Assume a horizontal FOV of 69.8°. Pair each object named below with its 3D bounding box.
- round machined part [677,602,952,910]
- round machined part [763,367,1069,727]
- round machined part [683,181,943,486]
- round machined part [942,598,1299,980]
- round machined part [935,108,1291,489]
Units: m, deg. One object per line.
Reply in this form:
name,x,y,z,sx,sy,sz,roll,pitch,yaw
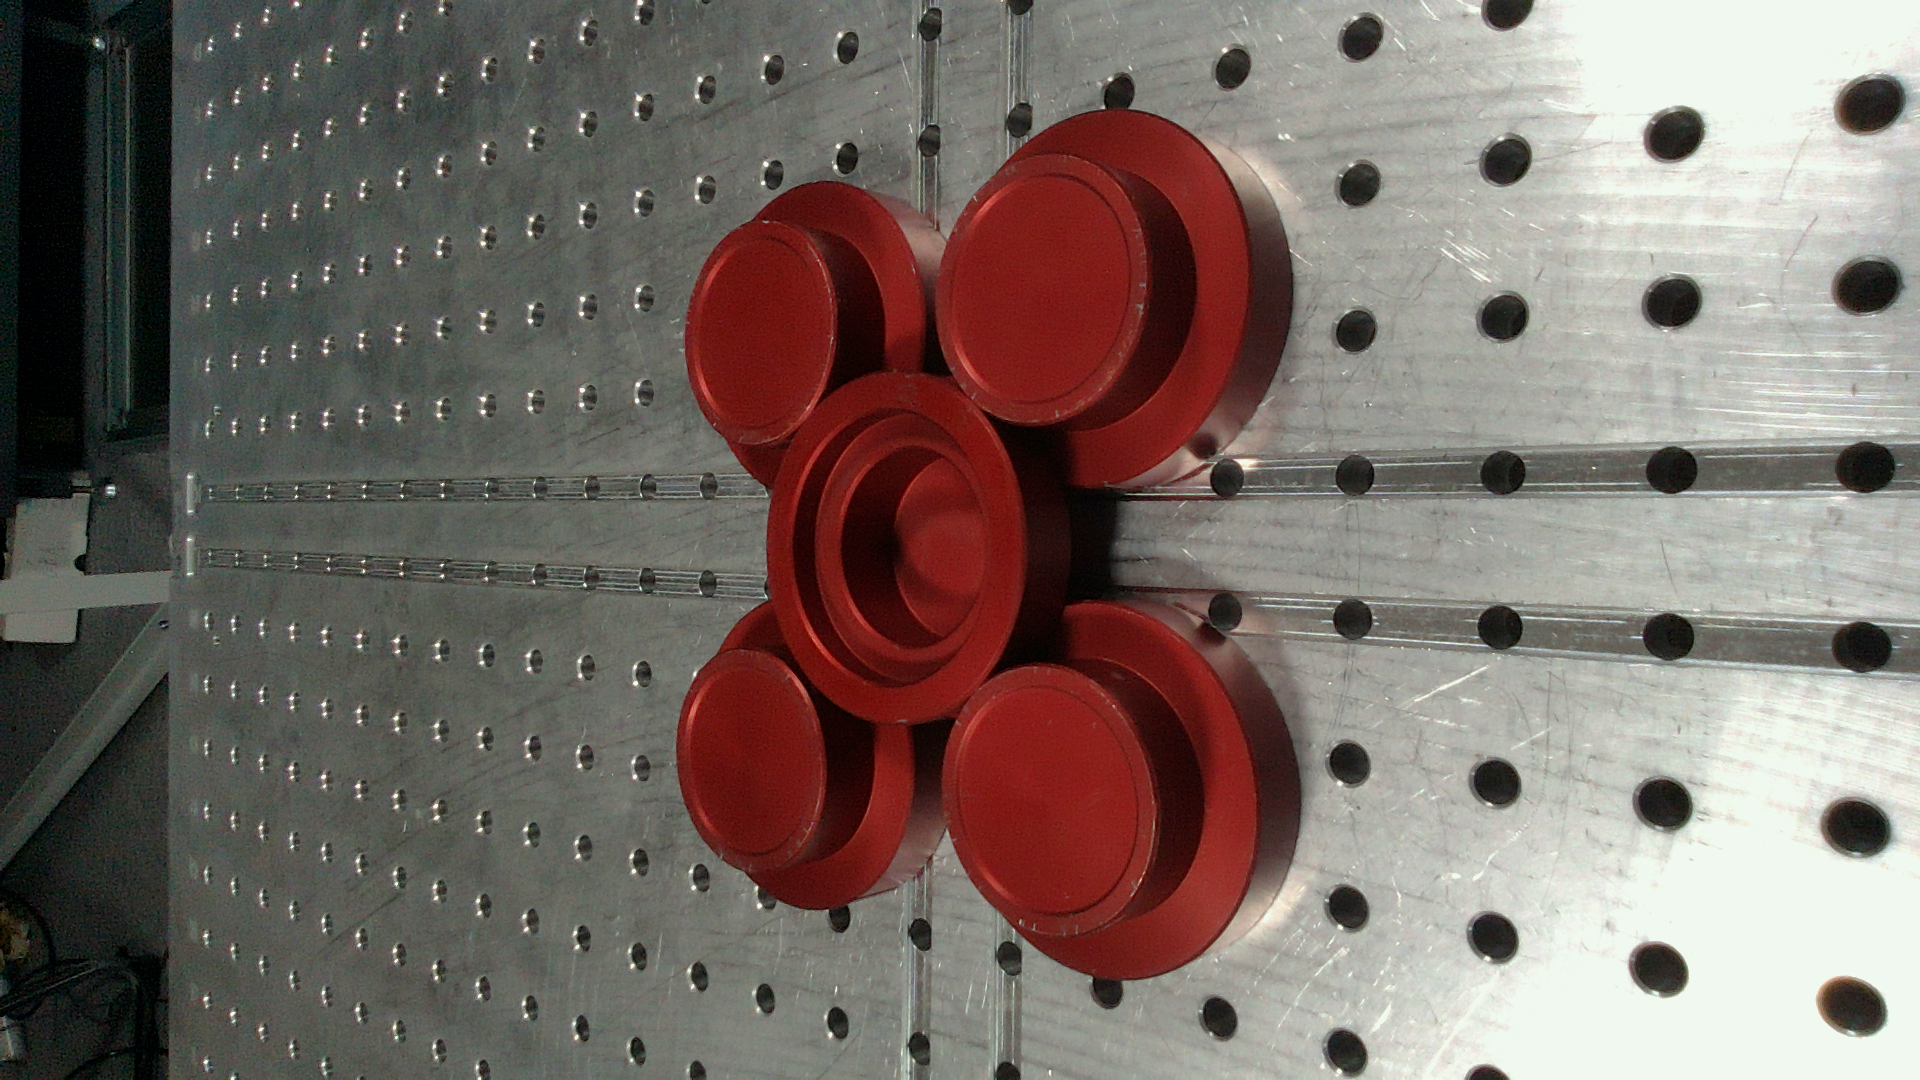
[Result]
round machined part,-0.051,0.066,0.430,0.098,0.042,0.098,0,90,40
round machined part,-0.008,0.002,0.391,0.098,0.042,0.098,0,90,40
round machined part,-0.048,-0.062,0.427,0.098,0.042,0.098,0,90,40
round machined part,0.034,0.065,0.357,0.098,0.042,0.098,0,90,40
round machined part,0.032,-0.063,0.359,0.098,0.042,0.098,0,90,40
